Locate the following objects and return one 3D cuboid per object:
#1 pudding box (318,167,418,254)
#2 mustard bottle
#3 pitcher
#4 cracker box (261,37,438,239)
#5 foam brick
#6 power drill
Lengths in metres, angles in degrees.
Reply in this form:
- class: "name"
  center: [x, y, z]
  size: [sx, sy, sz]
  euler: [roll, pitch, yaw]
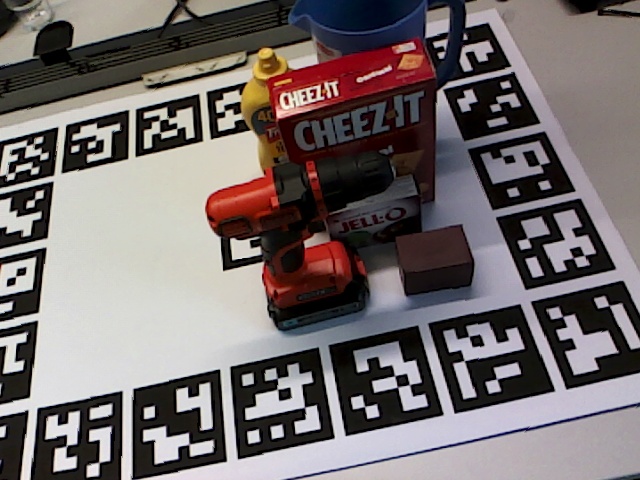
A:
- class: "pudding box"
  center: [0.052, -0.033, 0.720]
  size: [0.114, 0.089, 0.039]
  euler: [-13, 55, 6]
- class: "mustard bottle"
  center: [-0.056, -0.164, 0.768]
  size: [0.096, 0.190, 0.058]
  euler: [-1, 59, 10]
- class: "pitcher"
  center: [0.072, -0.200, 0.751]
  size: [0.189, 0.241, 0.134]
  euler: [-8, 57, 8]
- class: "cracker box"
  center: [0.043, -0.103, 0.702]
  size: [0.164, 0.212, 0.072]
  euler: [-16, 55, 4]
- class: "foam brick"
  center: [0.124, 0.025, 0.708]
  size: [0.078, 0.051, 0.053]
  euler: [-11, 59, 4]
- class: "power drill"
  center: [-0.010, -0.004, 0.632]
  size: [0.184, 0.186, 0.057]
  euler: [-14, 53, 2]
